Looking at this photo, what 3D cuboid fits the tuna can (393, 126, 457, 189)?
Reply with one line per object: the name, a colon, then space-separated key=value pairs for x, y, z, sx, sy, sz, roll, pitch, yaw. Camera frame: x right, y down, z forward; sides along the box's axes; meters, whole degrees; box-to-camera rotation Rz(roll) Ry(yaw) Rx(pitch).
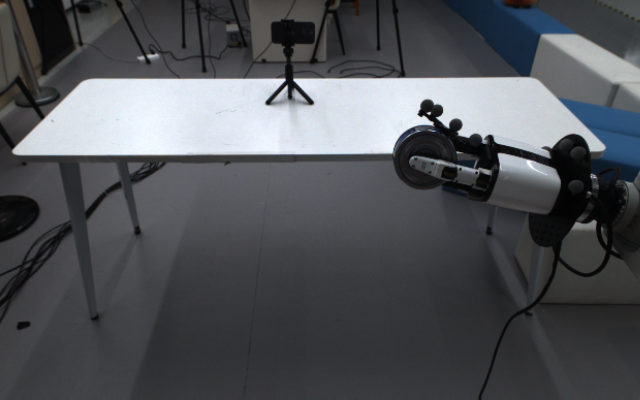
tuna can: x=0.147 y=-0.052 z=0.664 sx=0.085 sy=0.085 sz=0.034 roll=7 pitch=19 yaw=6
